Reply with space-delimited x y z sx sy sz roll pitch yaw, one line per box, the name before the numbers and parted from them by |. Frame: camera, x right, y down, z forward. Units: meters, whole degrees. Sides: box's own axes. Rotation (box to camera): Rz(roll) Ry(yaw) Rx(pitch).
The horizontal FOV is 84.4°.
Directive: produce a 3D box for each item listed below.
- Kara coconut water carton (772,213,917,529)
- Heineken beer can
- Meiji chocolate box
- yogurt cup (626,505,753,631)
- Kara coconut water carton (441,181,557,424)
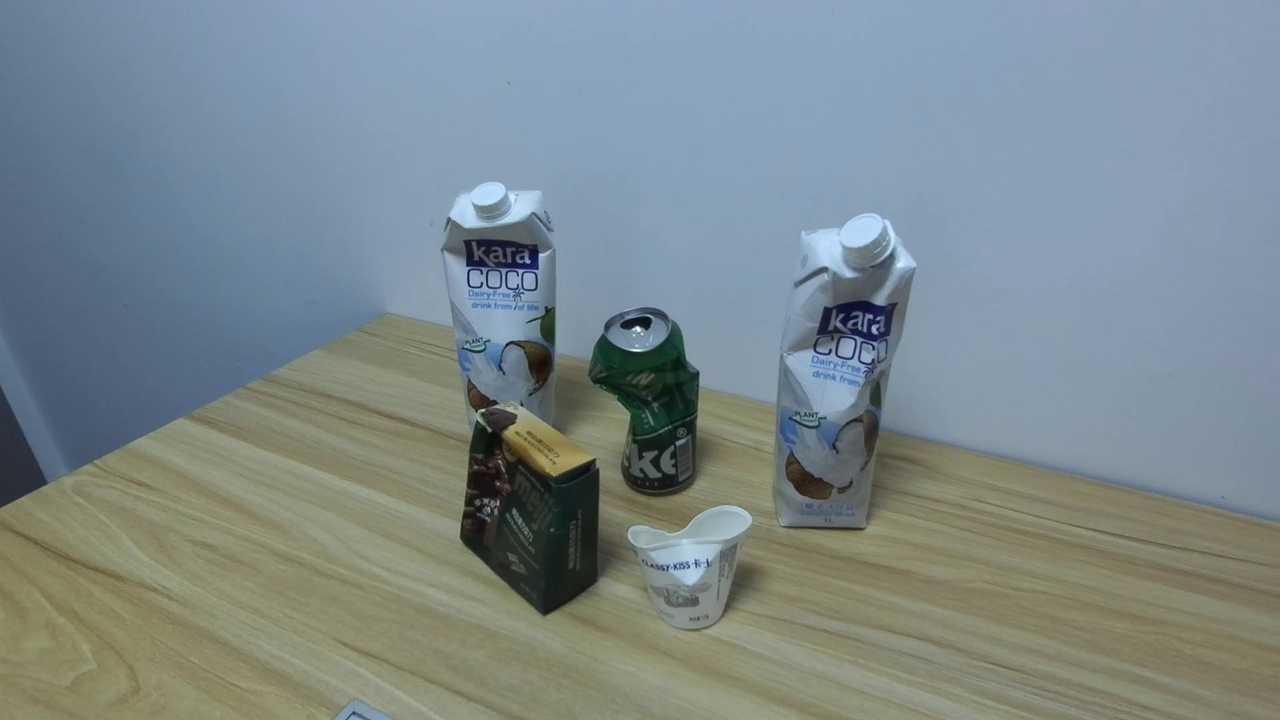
Kara coconut water carton | 0.145 0.010 0.525 0.083 0.256 0.078 8 31 14
Heineken beer can | 0.011 0.035 0.587 0.067 0.159 0.079 10 35 27
Meiji chocolate box | -0.082 0.104 0.516 0.058 0.111 0.112 -19 33 -41
yogurt cup | 0.034 0.137 0.479 0.076 0.071 0.053 -24 36 -33
Kara coconut water carton | -0.116 -0.035 0.622 0.099 0.244 0.071 -2 25 1
